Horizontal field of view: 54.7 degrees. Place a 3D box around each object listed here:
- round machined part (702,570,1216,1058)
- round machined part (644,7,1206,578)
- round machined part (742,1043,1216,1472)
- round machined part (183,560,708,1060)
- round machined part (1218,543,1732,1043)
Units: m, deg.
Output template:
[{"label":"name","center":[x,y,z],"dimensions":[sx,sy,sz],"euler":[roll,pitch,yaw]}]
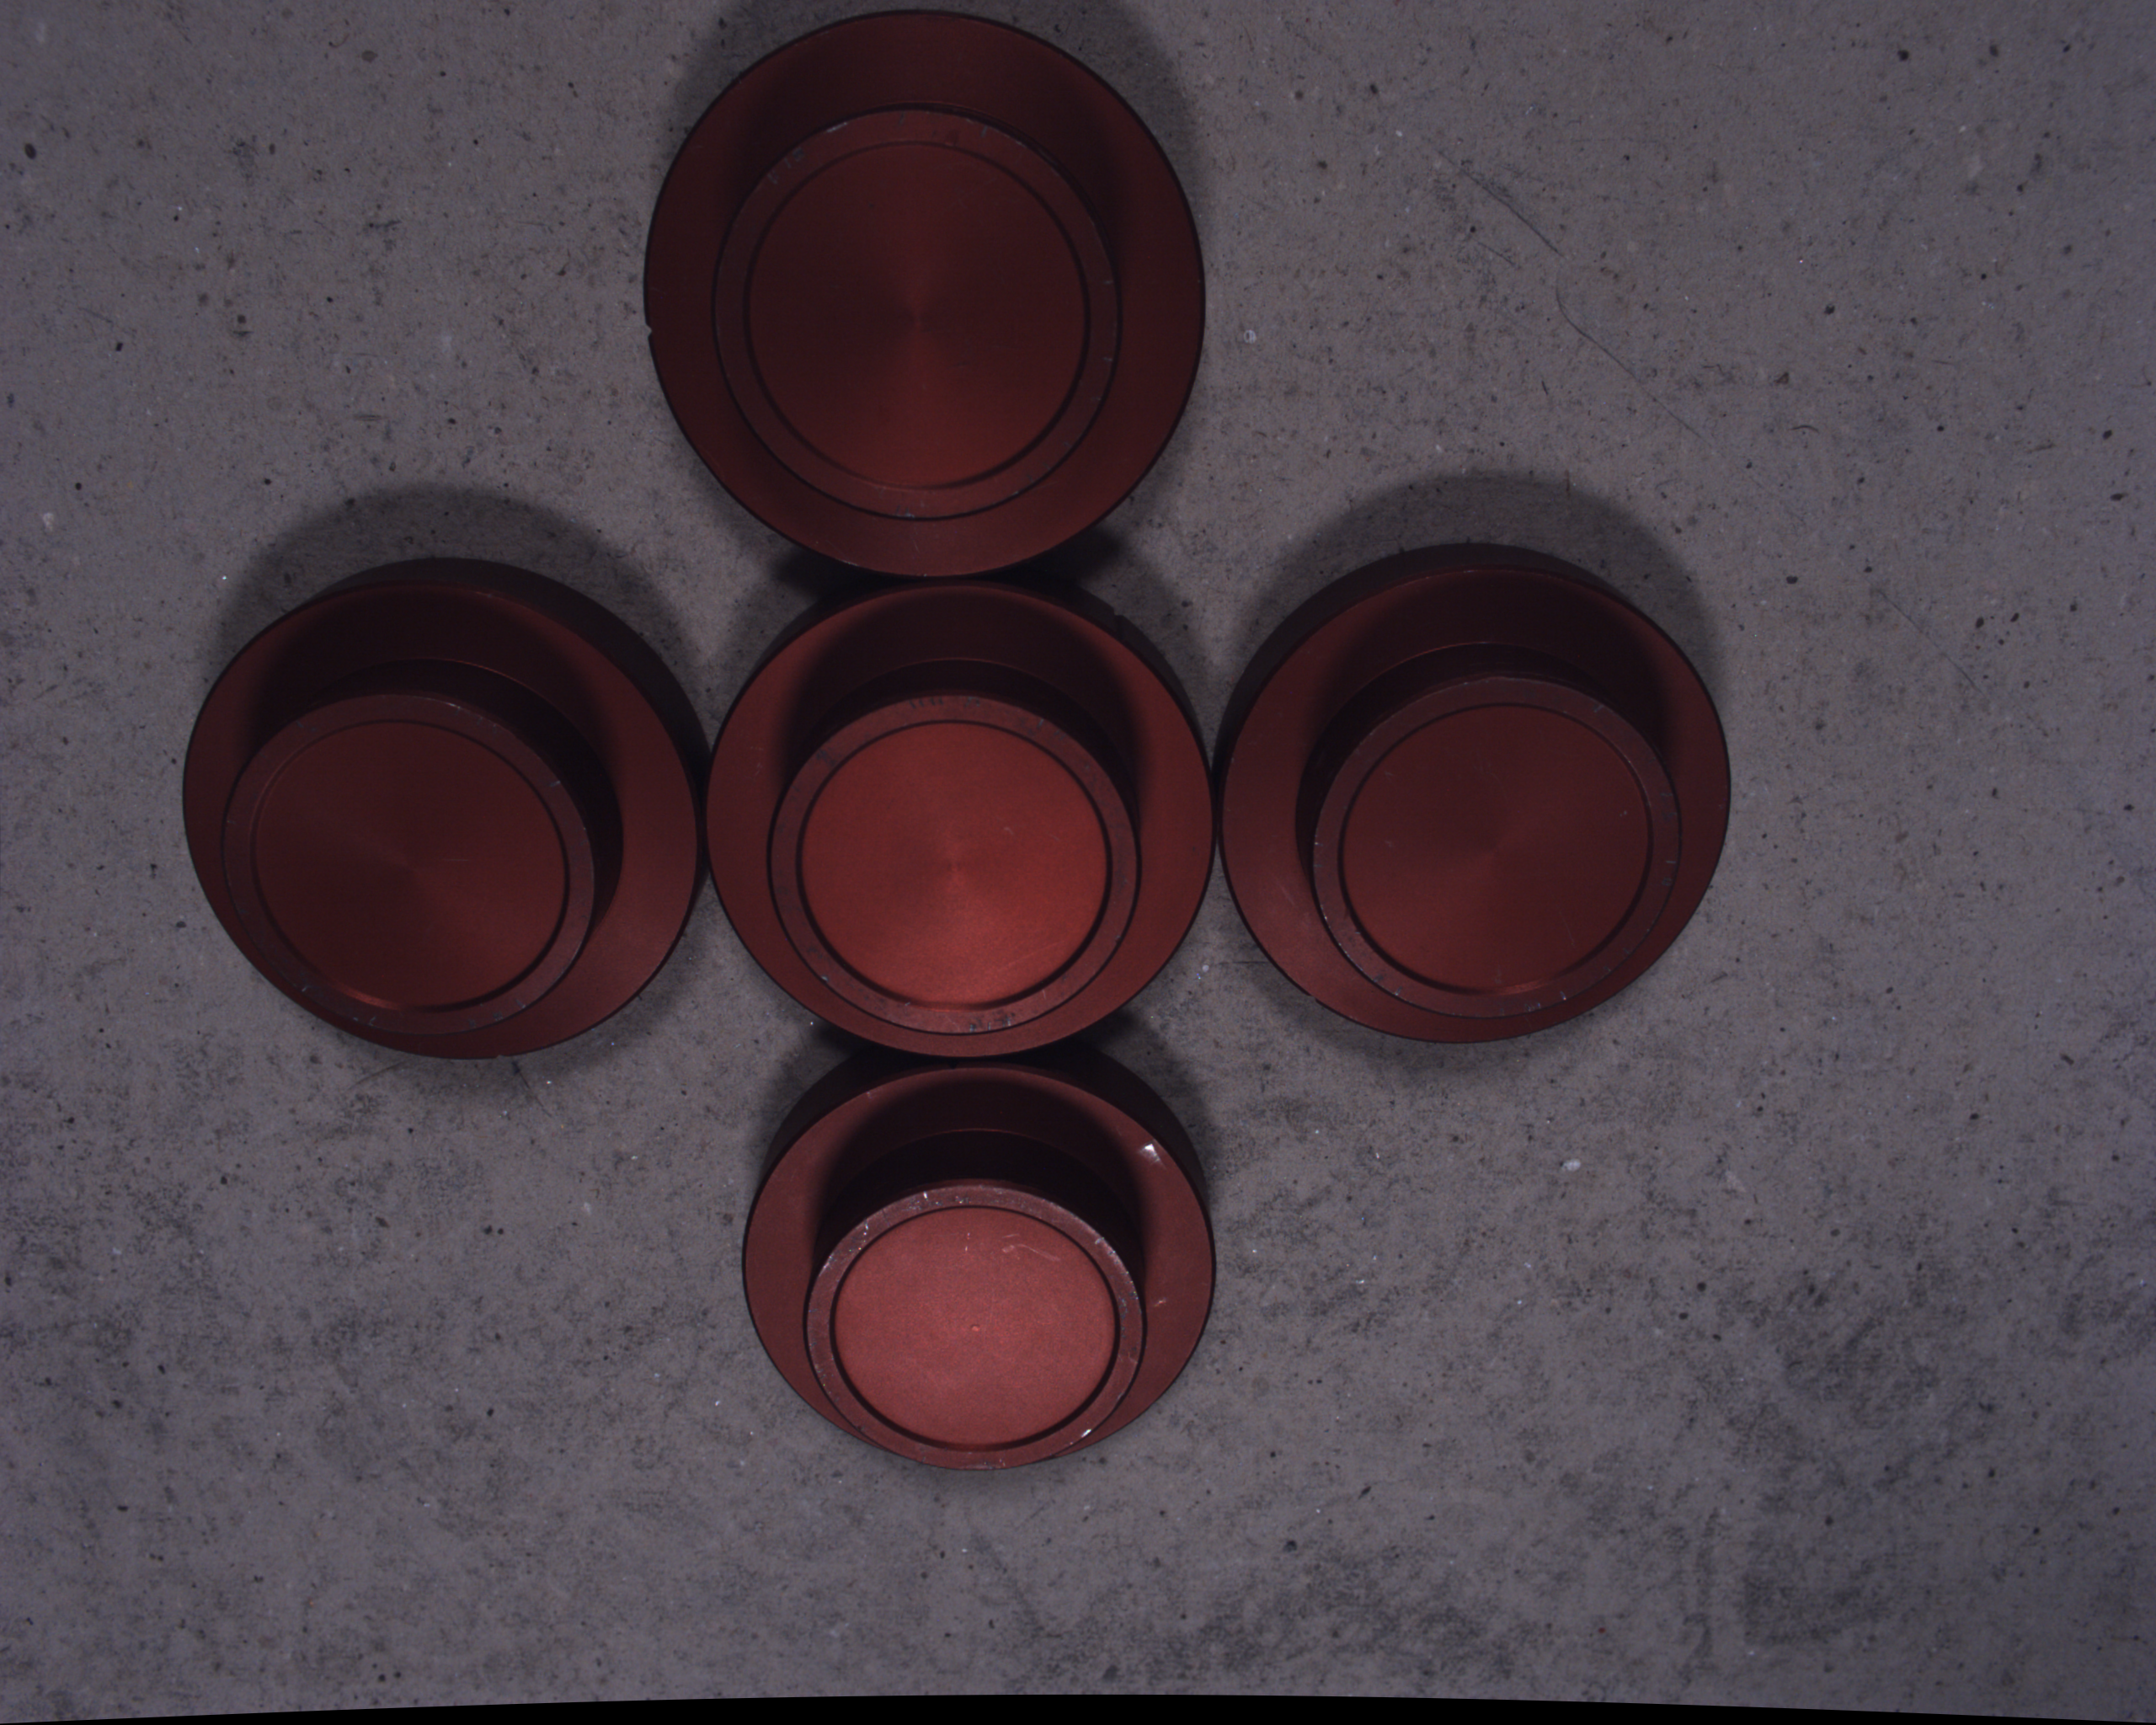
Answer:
[{"label":"round machined part","center":[-0.023,-0.006,0.400],"dimensions":[0.099,0.042,0.097],"euler":[0,110,-1]},{"label":"round machined part","center":[-0.027,-0.098,0.366],"dimensions":[0.099,0.042,0.097],"euler":[0,110,-1]},{"label":"round machined part","center":[-0.020,0.086,0.433],"dimensions":[0.099,0.042,0.097],"euler":[0,110,-1]},{"label":"round machined part","center":[-0.121,-0.006,0.398],"dimensions":[0.099,0.042,0.097],"euler":[0,110,-1]},{"label":"round machined part","center":[0.076,-0.009,0.400],"dimensions":[0.099,0.042,0.097],"euler":[0,110,-1]}]
